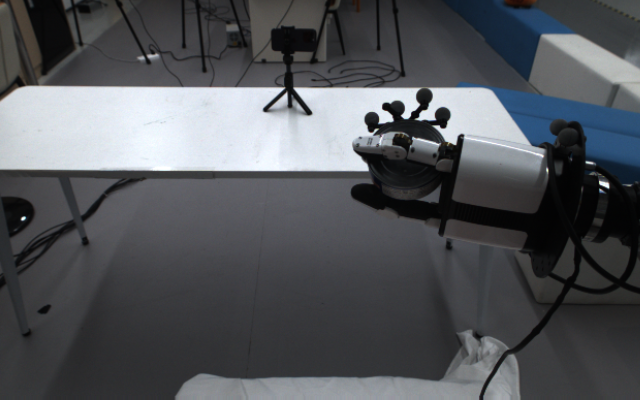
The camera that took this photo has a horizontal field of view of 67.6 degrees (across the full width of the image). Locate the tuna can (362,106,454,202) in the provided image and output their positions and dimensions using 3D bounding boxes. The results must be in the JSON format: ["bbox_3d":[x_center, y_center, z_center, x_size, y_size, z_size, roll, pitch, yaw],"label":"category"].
[{"bbox_3d":[0.095,-0.044,0.529,0.085,0.034,0.085,-6,61,10],"label":"tuna can"}]
